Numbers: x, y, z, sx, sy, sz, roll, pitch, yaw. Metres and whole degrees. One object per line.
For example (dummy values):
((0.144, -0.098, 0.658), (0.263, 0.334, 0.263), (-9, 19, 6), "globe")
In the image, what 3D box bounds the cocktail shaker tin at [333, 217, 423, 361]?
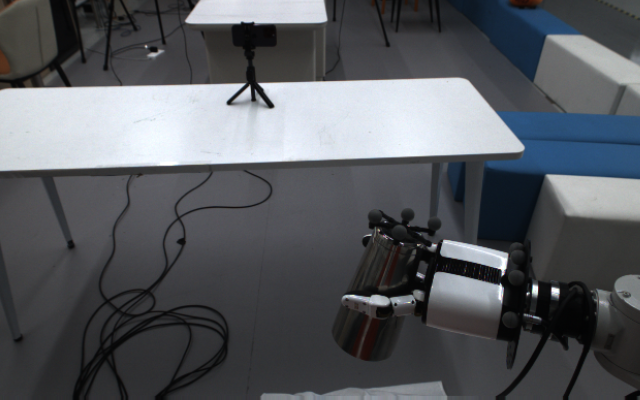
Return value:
((0.083, 0.113, 0.640), (0.093, 0.170, 0.093), (12, 24, -5), "cocktail shaker tin")
